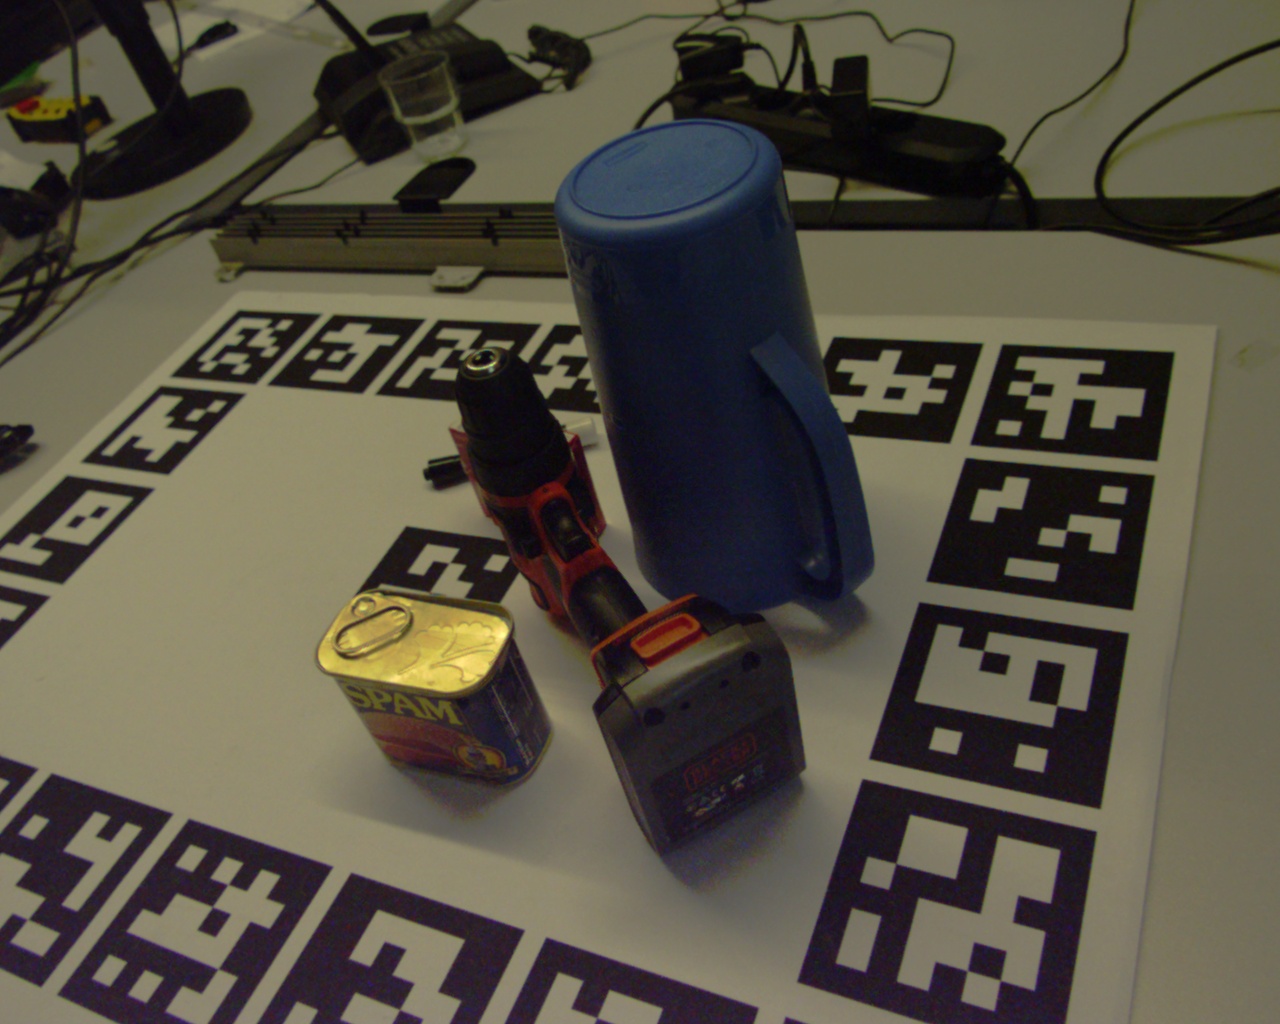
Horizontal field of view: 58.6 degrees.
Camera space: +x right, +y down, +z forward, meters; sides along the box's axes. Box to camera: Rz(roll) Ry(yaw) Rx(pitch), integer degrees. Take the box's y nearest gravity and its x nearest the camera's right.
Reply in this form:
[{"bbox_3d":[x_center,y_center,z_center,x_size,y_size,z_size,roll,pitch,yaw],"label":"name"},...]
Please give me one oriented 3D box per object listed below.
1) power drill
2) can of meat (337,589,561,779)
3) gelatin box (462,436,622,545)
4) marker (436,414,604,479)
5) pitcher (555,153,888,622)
[{"bbox_3d":[-0.025,0.024,0.592,0.057,0.183,0.189,-34,50,-13],"label":"power drill"},{"bbox_3d":[-0.099,0.094,0.614,0.103,0.083,0.057,6,46,25],"label":"can of meat"},{"bbox_3d":[-0.063,-0.018,0.730,0.090,0.072,0.030,17,57,31],"label":"gelatin box"},{"bbox_3d":[-0.086,-0.046,0.803,0.121,0.019,0.020,-14,43,8],"label":"marker"},{"bbox_3d":[0.051,-0.060,0.617,0.133,0.240,0.191,-36,38,-14],"label":"pitcher"}]
